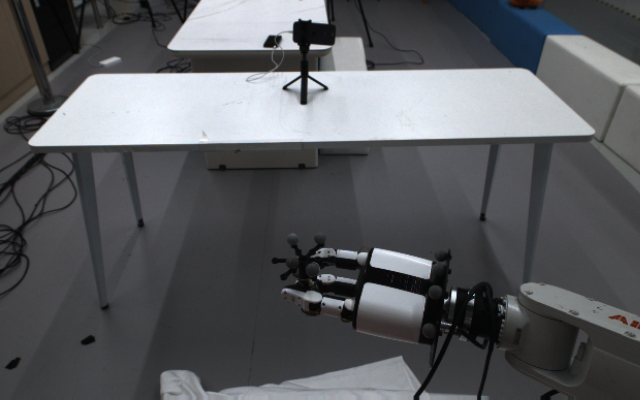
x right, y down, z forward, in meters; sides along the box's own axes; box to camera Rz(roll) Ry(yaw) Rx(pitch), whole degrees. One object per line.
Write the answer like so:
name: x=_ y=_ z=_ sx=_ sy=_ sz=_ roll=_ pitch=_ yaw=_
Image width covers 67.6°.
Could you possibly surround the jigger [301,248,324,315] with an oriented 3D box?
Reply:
jigger: x=-0.012 y=0.122 z=0.688 sx=0.043 sy=0.071 sz=0.043 roll=-9 pitch=31 yaw=5
